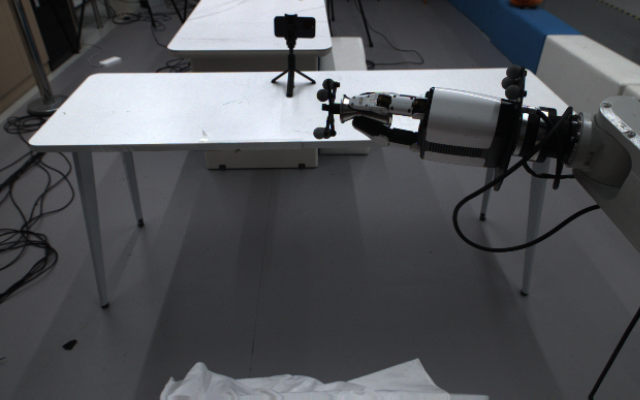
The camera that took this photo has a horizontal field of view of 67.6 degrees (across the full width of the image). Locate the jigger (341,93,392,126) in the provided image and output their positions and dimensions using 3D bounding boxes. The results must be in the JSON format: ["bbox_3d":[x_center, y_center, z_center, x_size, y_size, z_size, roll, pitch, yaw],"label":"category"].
[{"bbox_3d":[0.071,-0.128,0.671,0.071,0.043,0.043,5,34,14],"label":"jigger"}]
